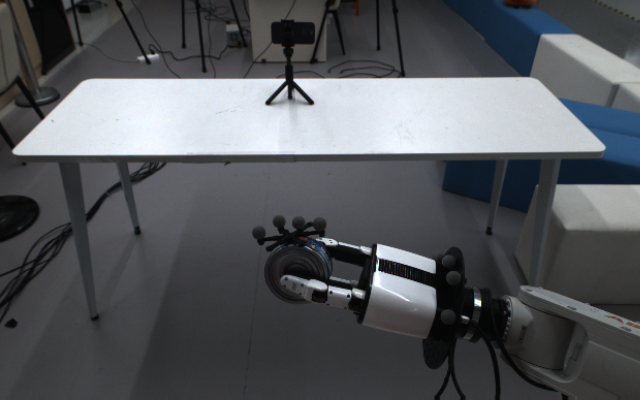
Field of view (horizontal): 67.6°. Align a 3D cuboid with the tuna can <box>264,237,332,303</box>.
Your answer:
[{"bbox_3d":[-0.024,0.097,0.623,0.085,0.085,0.034,6,18,5],"label":"tuna can"}]
